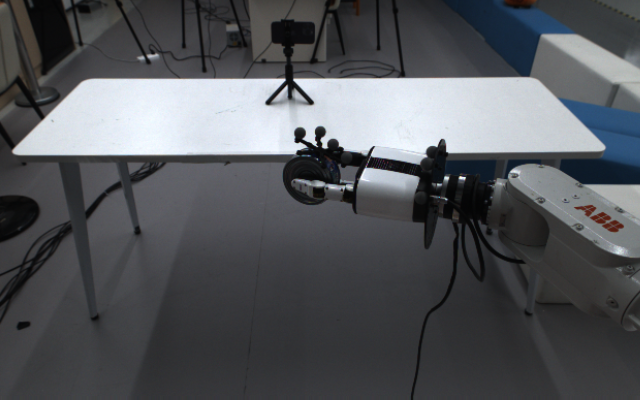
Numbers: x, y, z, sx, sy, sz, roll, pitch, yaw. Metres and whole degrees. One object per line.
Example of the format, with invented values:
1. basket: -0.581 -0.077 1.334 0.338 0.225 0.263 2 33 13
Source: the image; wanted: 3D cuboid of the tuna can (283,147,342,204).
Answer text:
1. tuna can: -0.013 -0.036 0.747 0.085 0.085 0.034 15 31 18
